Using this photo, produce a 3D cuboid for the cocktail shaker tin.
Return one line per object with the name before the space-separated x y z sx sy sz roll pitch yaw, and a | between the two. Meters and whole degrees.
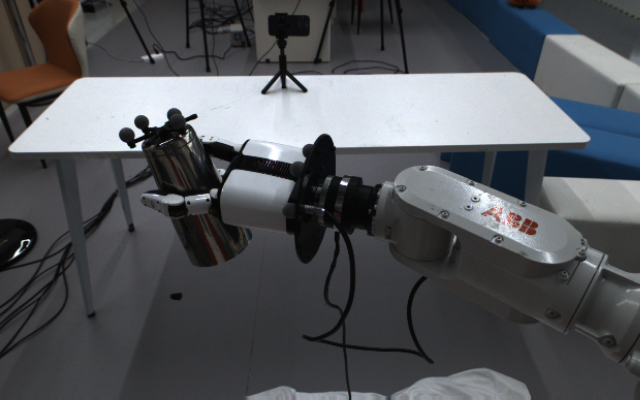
cocktail shaker tin | -0.161 -0.007 0.627 0.093 0.170 0.093 -15 29 8
